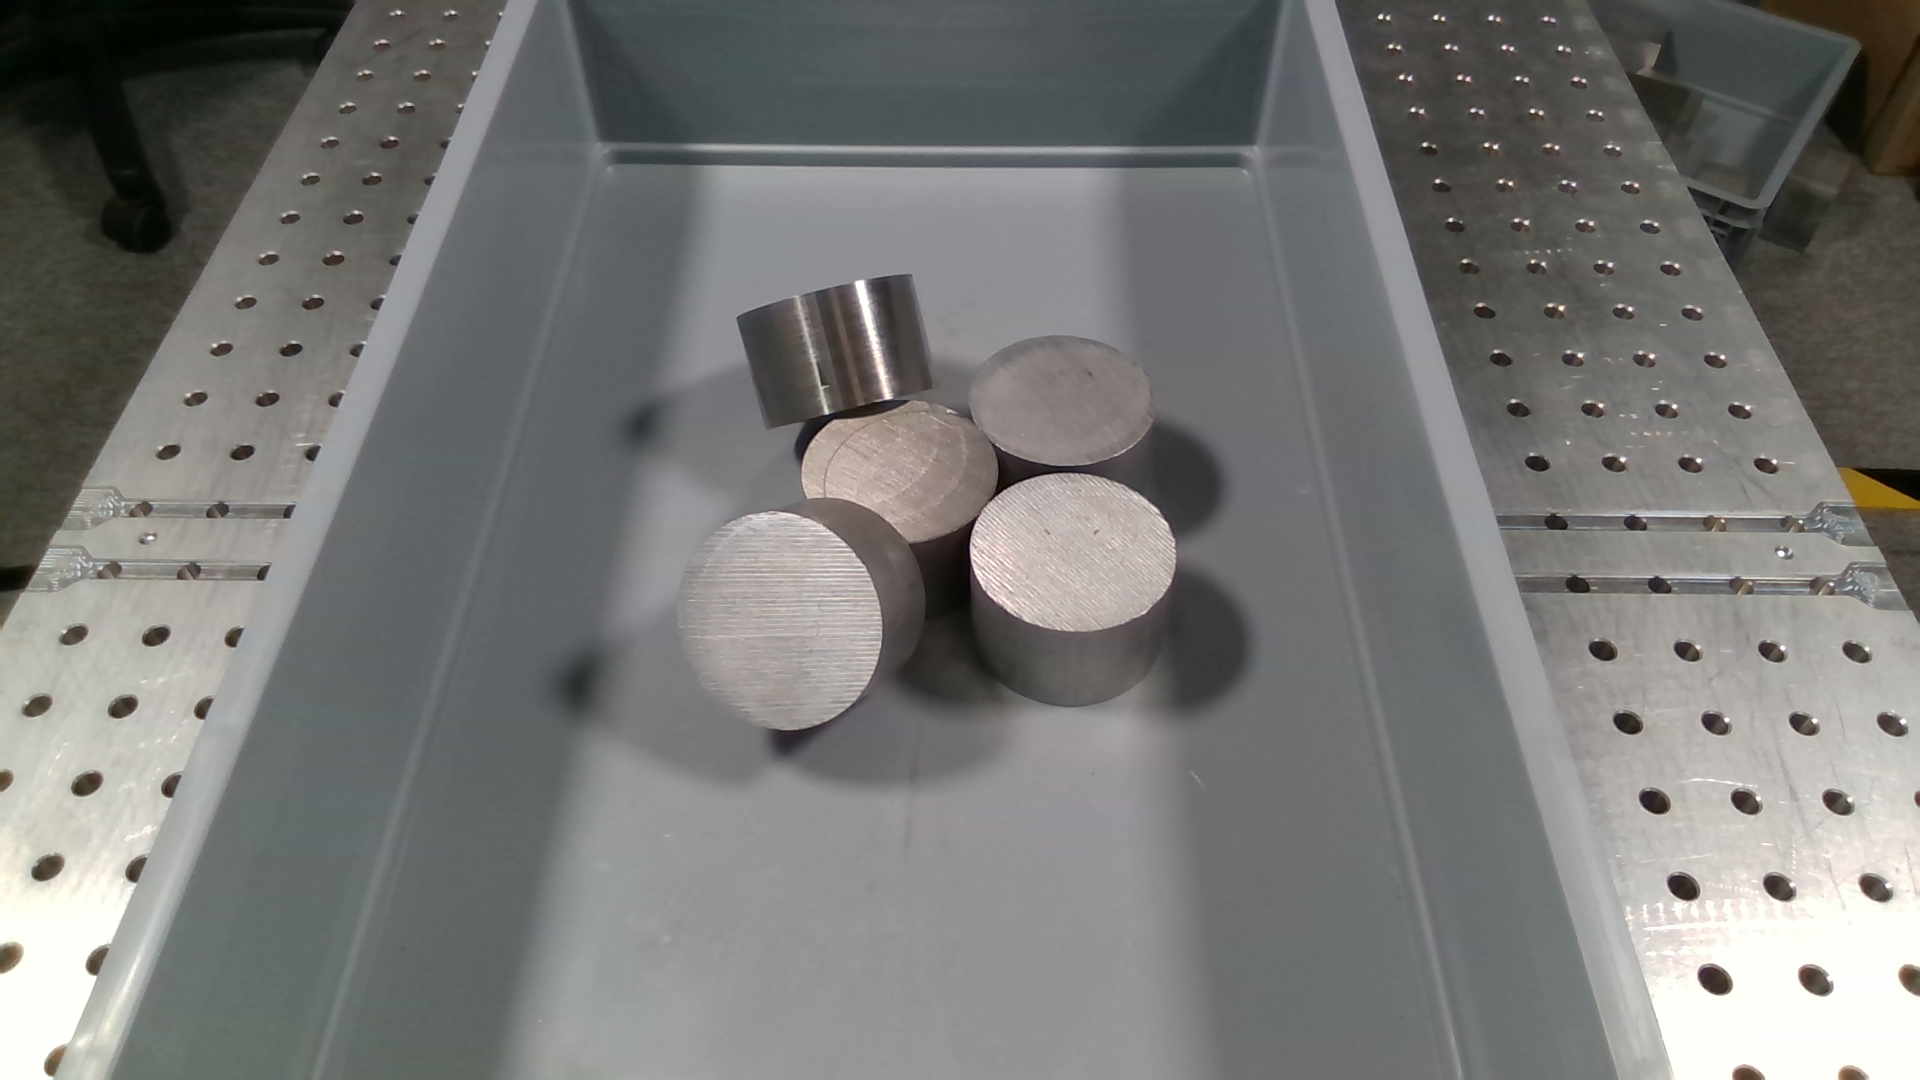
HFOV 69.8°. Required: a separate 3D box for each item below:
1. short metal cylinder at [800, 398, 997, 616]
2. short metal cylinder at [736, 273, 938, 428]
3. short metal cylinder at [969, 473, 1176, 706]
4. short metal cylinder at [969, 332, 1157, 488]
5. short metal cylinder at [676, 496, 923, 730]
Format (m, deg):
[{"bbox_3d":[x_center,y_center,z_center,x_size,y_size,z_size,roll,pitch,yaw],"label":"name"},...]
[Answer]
[{"bbox_3d":[-0.025,-0.014,0.579,0.080,0.050,0.080,0,50,0],"label":"short metal cylinder"},{"bbox_3d":[-0.054,-0.083,0.612,0.080,0.080,0.050,-15,96,-12],"label":"short metal cylinder"},{"bbox_3d":[0.044,0.019,0.554,0.080,0.050,0.080,0,50,0],"label":"short metal cylinder"},{"bbox_3d":[0.044,-0.046,0.606,0.080,0.050,0.080,0,50,0],"label":"short metal cylinder"},{"bbox_3d":[-0.059,0.026,0.520,0.080,0.080,0.050,16,13,13],"label":"short metal cylinder"}]
